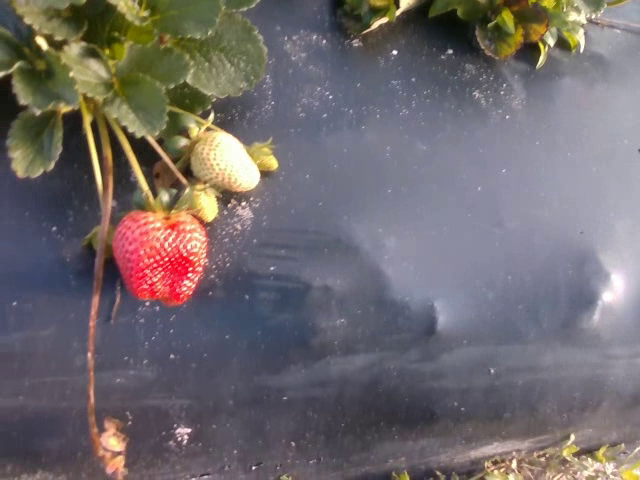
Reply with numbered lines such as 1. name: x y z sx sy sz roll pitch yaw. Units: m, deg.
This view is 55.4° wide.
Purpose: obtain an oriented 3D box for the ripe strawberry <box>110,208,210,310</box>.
1. ripe strawberry: -0.078 0.010 0.300 0.047 0.050 0.034 1 -2 -13
